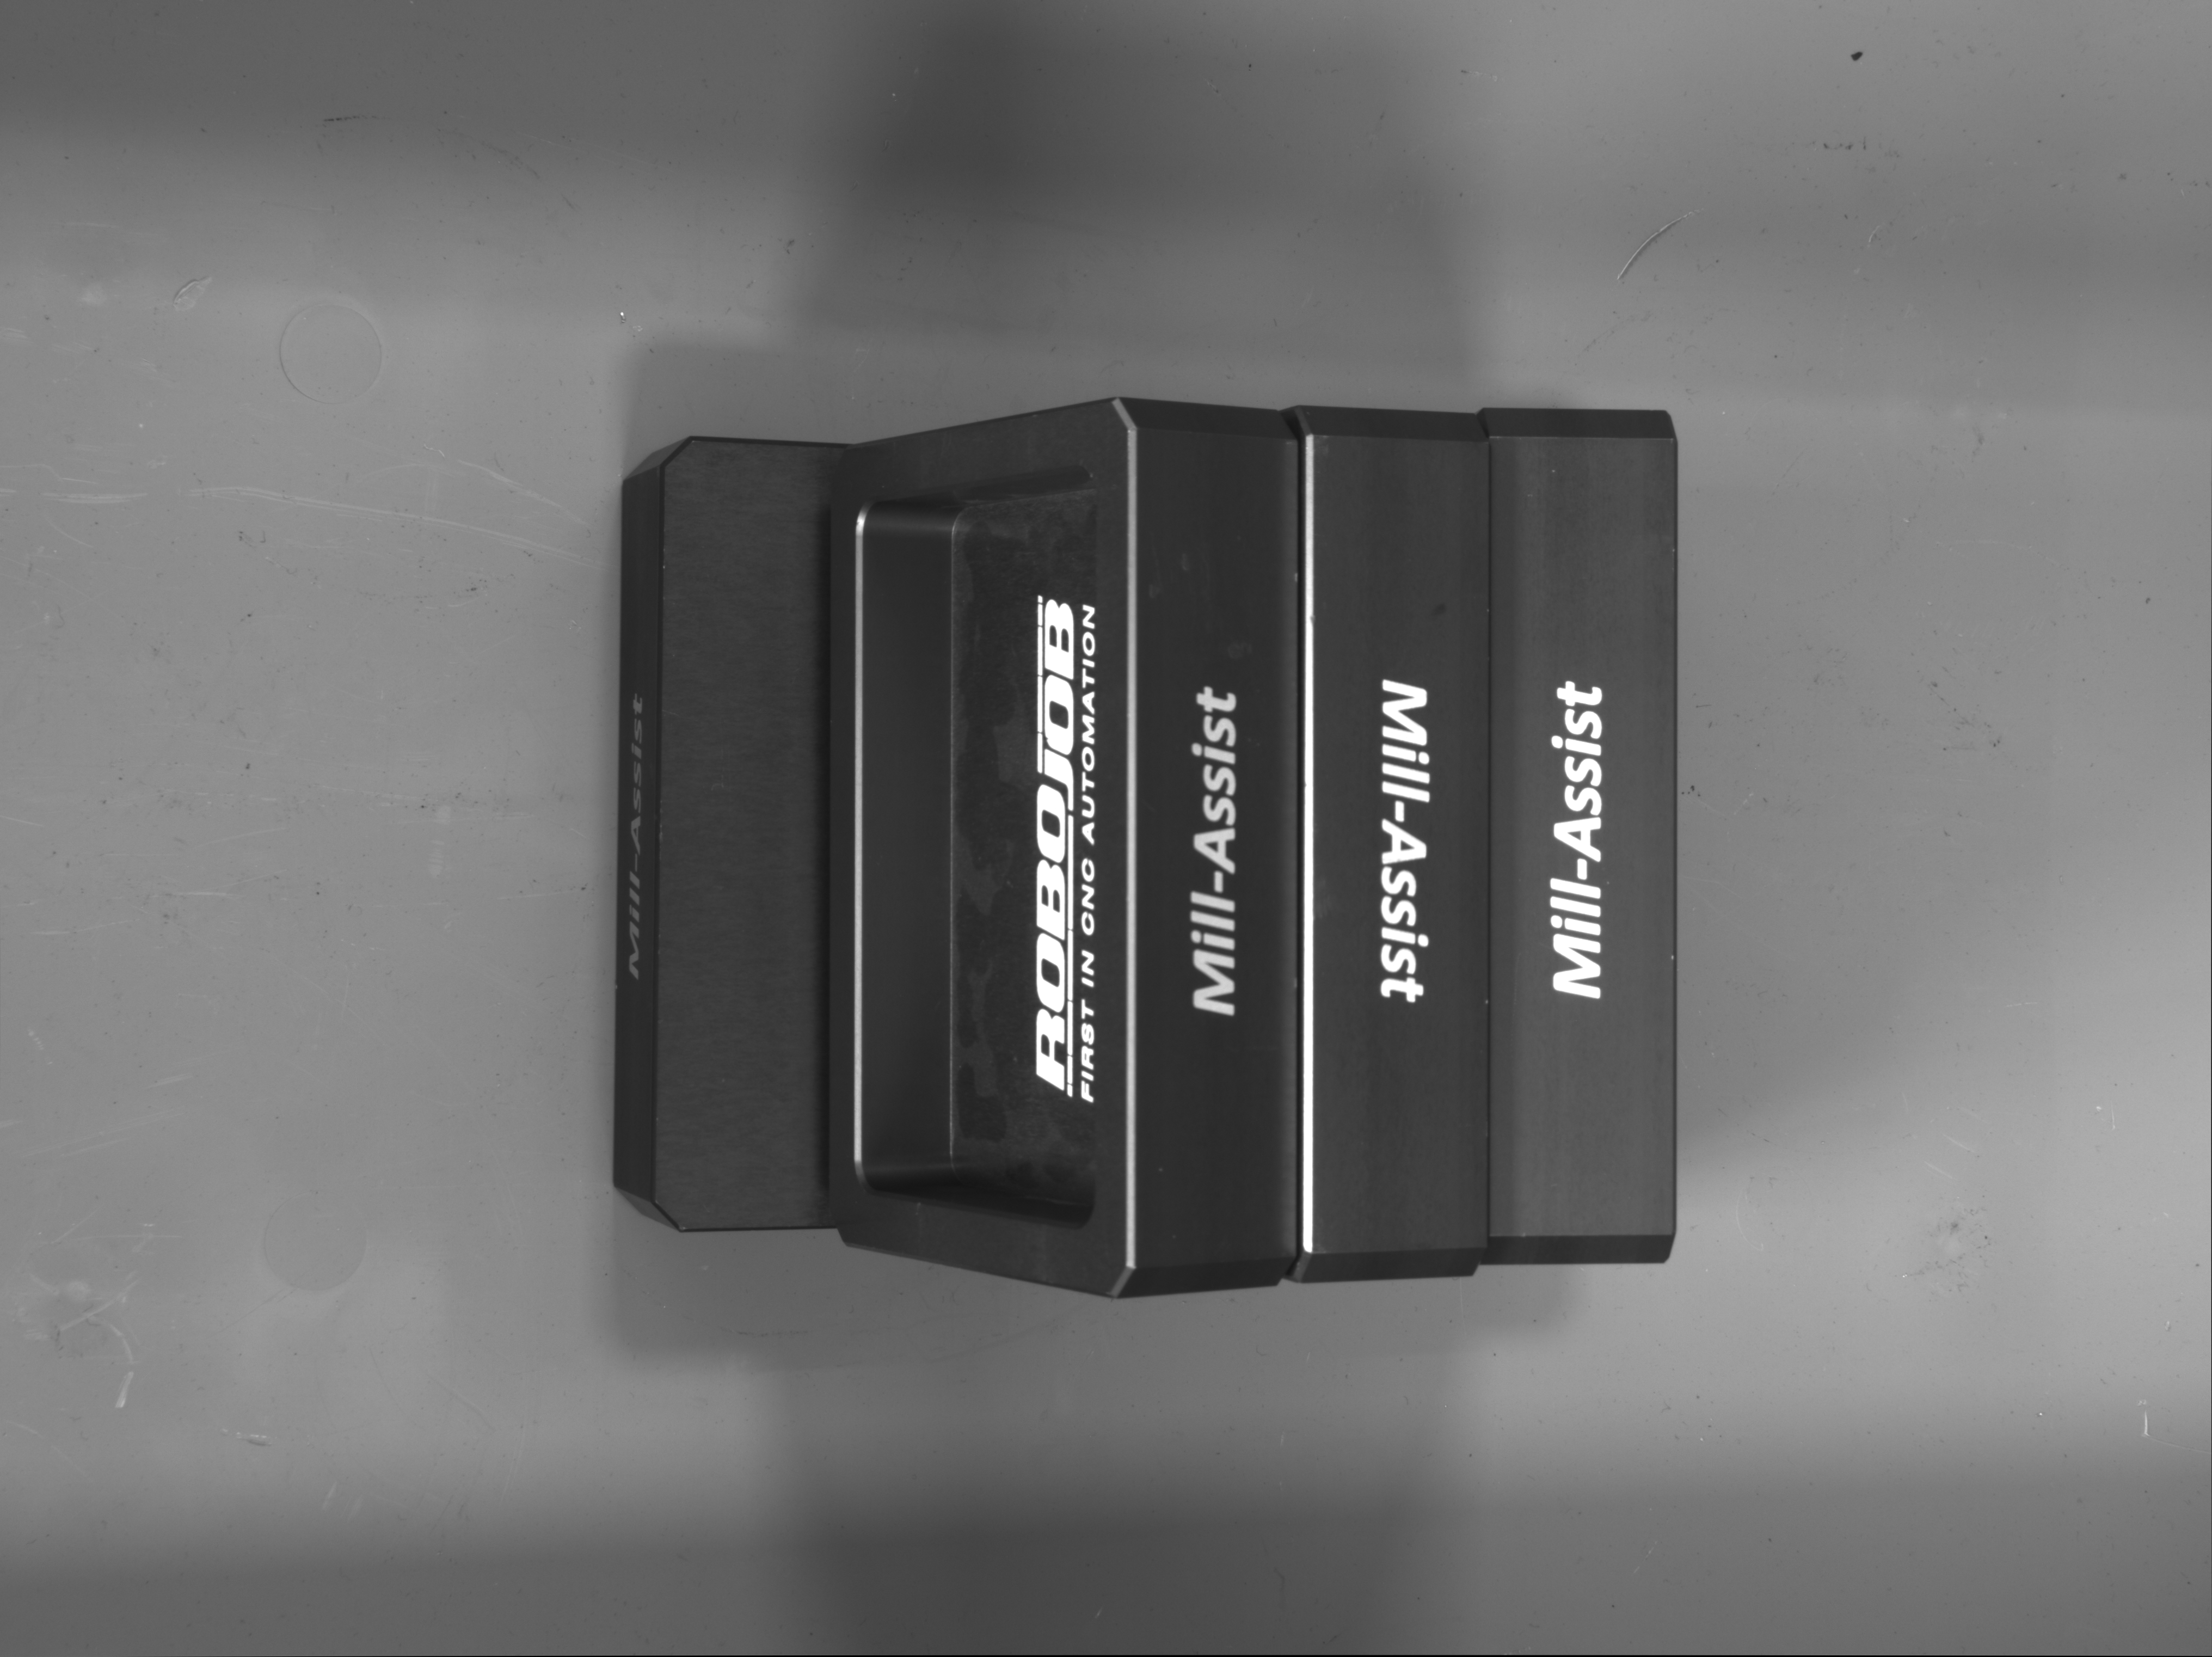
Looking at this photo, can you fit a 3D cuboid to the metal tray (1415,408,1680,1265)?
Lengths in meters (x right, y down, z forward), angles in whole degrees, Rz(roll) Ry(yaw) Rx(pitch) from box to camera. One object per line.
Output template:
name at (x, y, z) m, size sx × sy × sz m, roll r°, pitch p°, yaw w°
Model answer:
metal tray at (0.068, 0.001, 0.597) m, size 0.030 × 0.090 × 0.130 m, roll 0°, pitch 90°, yaw -5°

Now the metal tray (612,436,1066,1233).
metal tray at (-0.036, 0.001, 0.625) m, size 0.090 × 0.030 × 0.130 m, roll 1°, pitch 90°, yaw -20°

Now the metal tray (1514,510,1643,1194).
metal tray at (0.049, 0.003, 0.657) m, size 0.090 × 0.030 × 0.130 m, roll 1°, pitch 90°, yaw -20°

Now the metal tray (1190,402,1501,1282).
metal tray at (0.029, 0.003, 0.584) m, size 0.030 × 0.090 × 0.130 m, roll 0°, pitch 88°, yaw -20°

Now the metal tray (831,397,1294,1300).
metal tray at (-0.009, 0.003, 0.569) m, size 0.030 × 0.090 × 0.130 m, roll 0°, pitch 90°, yaw -32°
